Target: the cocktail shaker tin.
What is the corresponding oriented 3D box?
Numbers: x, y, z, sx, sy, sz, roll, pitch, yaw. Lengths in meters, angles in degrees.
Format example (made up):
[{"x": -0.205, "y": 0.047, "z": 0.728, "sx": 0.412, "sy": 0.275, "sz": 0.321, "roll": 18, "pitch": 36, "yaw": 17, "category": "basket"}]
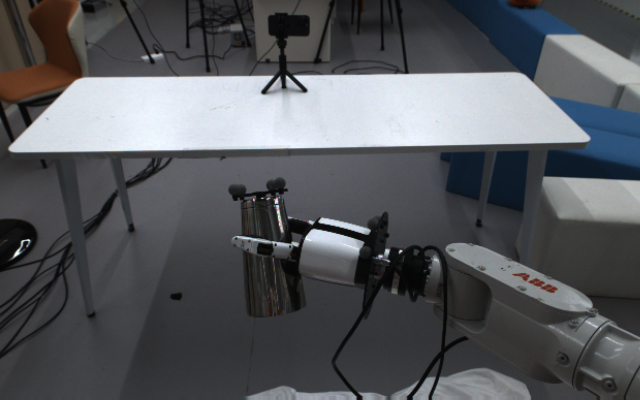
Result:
[{"x": -0.077, "y": 0.082, "z": 0.736, "sx": 0.093, "sy": 0.170, "sz": 0.093, "roll": -8, "pitch": 1, "yaw": 0, "category": "cocktail shaker tin"}]
